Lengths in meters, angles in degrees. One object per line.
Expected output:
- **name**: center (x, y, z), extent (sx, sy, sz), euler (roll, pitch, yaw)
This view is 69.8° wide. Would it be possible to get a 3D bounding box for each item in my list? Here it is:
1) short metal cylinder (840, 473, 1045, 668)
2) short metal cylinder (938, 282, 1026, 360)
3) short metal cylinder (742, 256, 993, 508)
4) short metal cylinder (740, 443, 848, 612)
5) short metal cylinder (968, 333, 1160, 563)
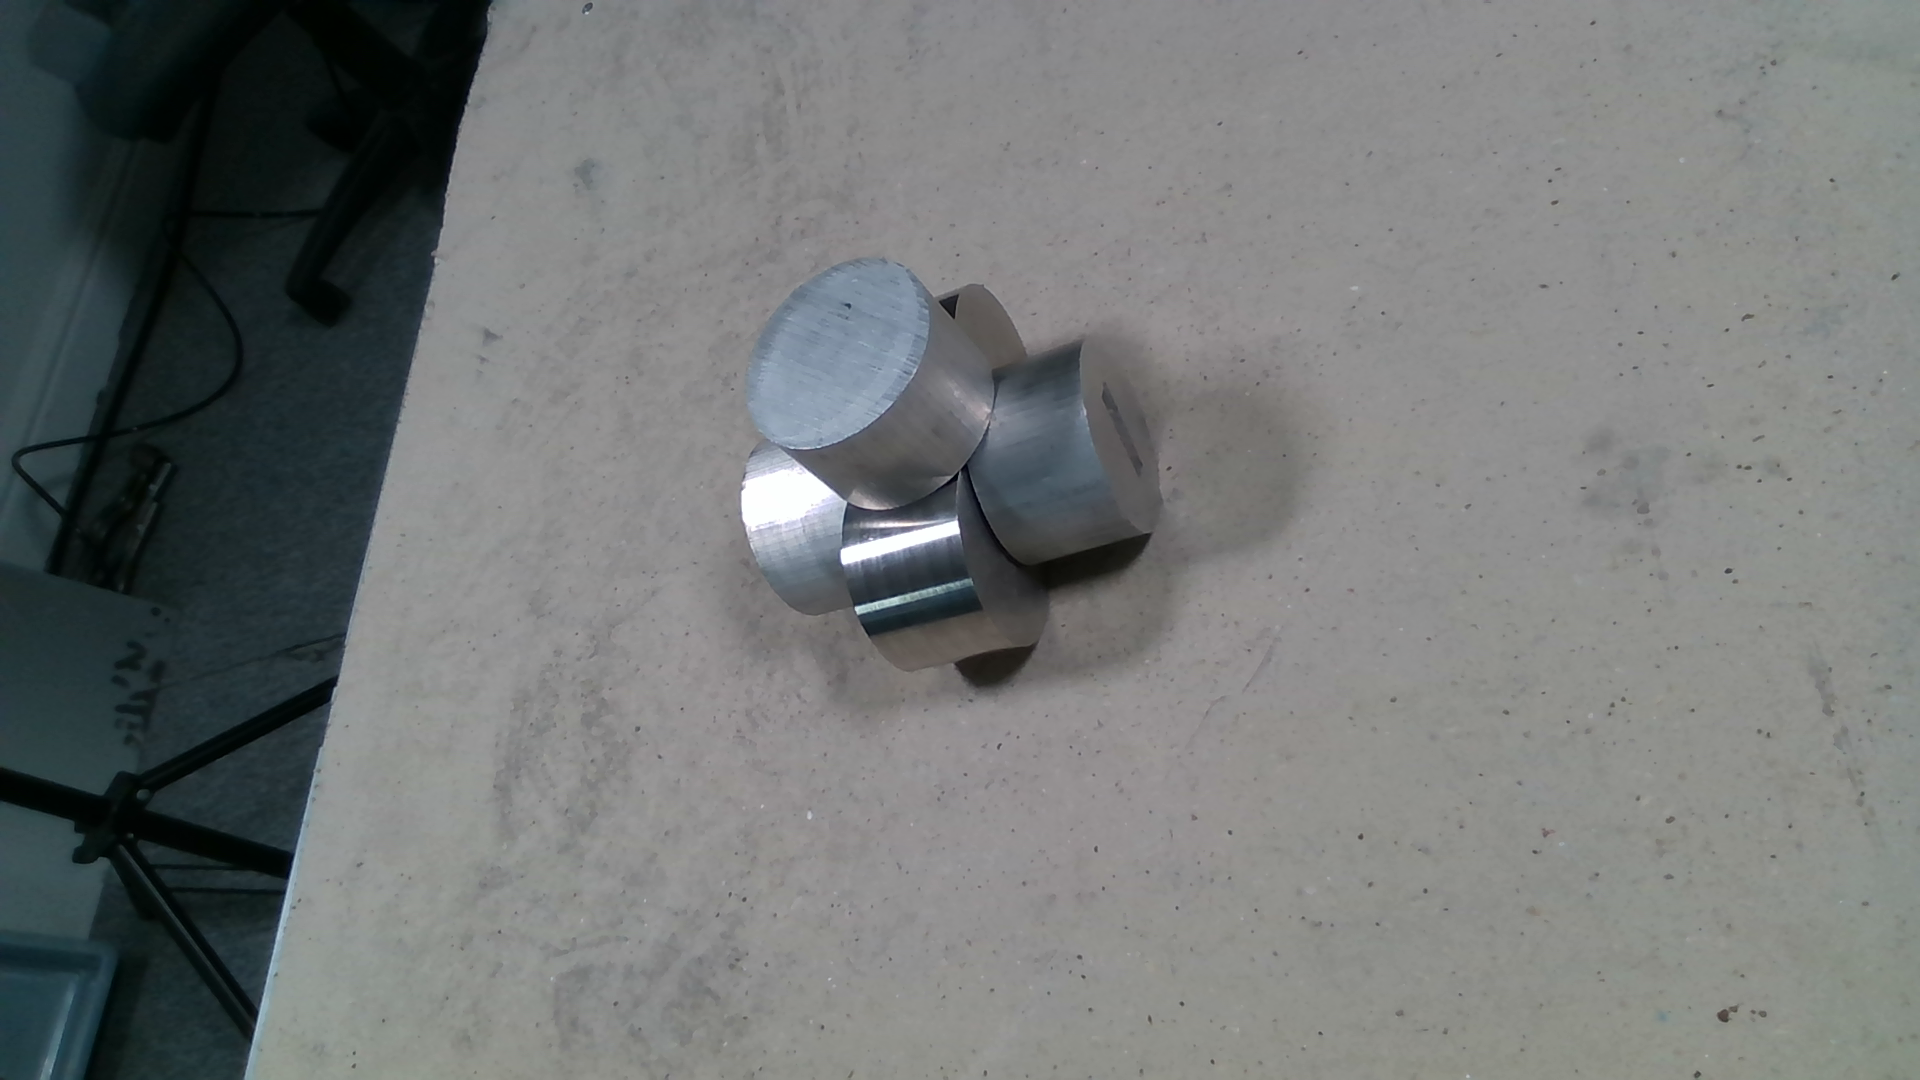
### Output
- **short metal cylinder**: center (-0.005, 0.008, 0.549), extent (0.050, 0.080, 0.080), euler (-15, 59, 25)
- **short metal cylinder**: center (-0.005, -0.063, 0.587), extent (0.050, 0.080, 0.080), euler (-15, 58, 24)
- **short metal cylinder**: center (-0.034, -0.059, 0.518), extent (0.080, 0.050, 0.080), euler (-14, 59, 25)
- **short metal cylinder**: center (-0.049, -0.012, 0.587), extent (0.050, 0.080, 0.080), euler (-15, 59, 25)
- **short metal cylinder**: center (0.041, -0.035, 0.544), extent (0.050, 0.080, 0.080), euler (-16, 58, 24)
